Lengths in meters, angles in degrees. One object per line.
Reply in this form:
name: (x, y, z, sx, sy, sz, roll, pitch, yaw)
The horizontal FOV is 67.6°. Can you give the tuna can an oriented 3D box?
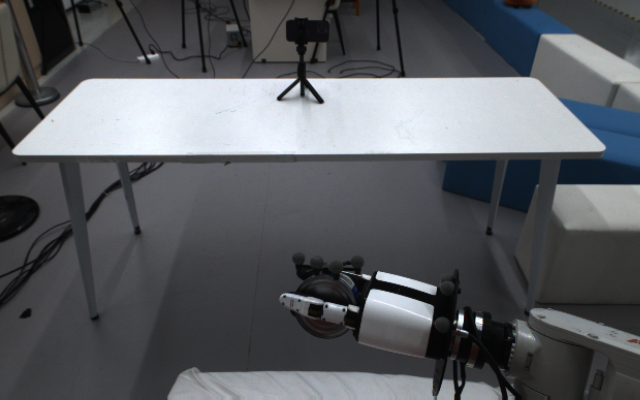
tuna can: (0.013, 0.141, 0.636, 0.085, 0.085, 0.034, 12, 8, 14)
